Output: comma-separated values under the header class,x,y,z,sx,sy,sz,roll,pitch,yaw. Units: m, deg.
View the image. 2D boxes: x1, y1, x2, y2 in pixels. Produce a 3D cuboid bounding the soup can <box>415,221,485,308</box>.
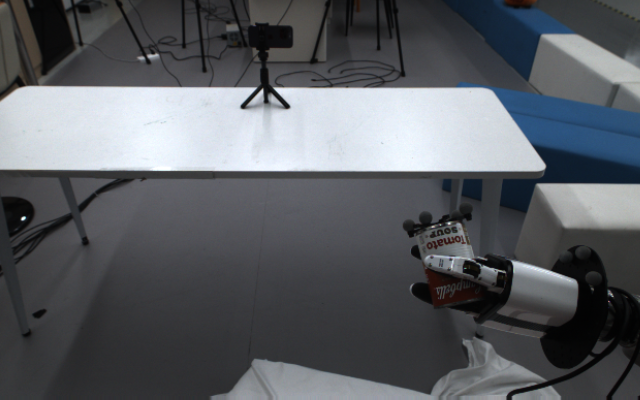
class,x,y,z,sx,sy,sz,roll,pitch,yaw
soup can,0.171,0.085,0.630,0.067,0.067,0.101,-8,74,-14
